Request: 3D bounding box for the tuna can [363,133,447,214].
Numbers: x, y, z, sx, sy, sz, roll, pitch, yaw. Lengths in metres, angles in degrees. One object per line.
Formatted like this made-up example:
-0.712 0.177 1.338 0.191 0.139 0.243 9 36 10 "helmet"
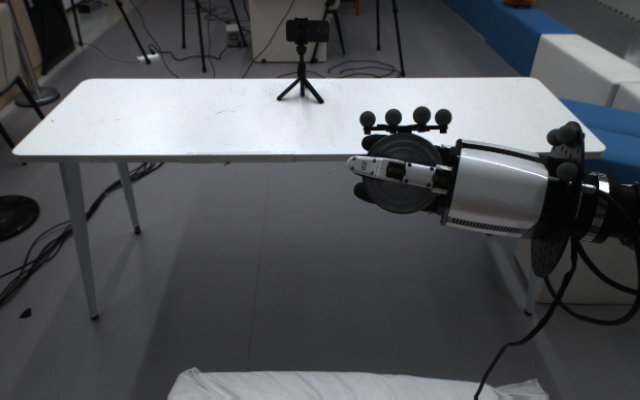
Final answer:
0.092 -0.030 0.524 0.085 0.085 0.034 12 8 14 "tuna can"
